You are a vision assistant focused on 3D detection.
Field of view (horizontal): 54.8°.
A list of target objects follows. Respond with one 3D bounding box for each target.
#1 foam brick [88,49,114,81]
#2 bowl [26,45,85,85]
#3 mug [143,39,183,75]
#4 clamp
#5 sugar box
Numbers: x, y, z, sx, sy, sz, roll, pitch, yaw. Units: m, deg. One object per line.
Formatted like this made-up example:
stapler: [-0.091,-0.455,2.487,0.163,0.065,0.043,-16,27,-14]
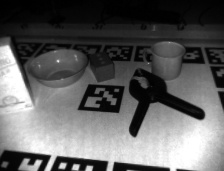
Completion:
foam brick: [-0.034,-0.060,0.626,0.053,0.052,0.077,-17,44,-12]
bowl: [-0.153,-0.051,0.614,0.161,0.055,0.161,-1,42,2]
mug: [0.136,-0.089,0.611,0.116,0.082,0.094,23,48,23]
clamp: [0.088,0.009,0.532,0.166,0.037,0.200,-15,43,-9]
sugar box: [-0.248,-0.011,0.484,0.093,0.177,0.045,-15,44,-12]
